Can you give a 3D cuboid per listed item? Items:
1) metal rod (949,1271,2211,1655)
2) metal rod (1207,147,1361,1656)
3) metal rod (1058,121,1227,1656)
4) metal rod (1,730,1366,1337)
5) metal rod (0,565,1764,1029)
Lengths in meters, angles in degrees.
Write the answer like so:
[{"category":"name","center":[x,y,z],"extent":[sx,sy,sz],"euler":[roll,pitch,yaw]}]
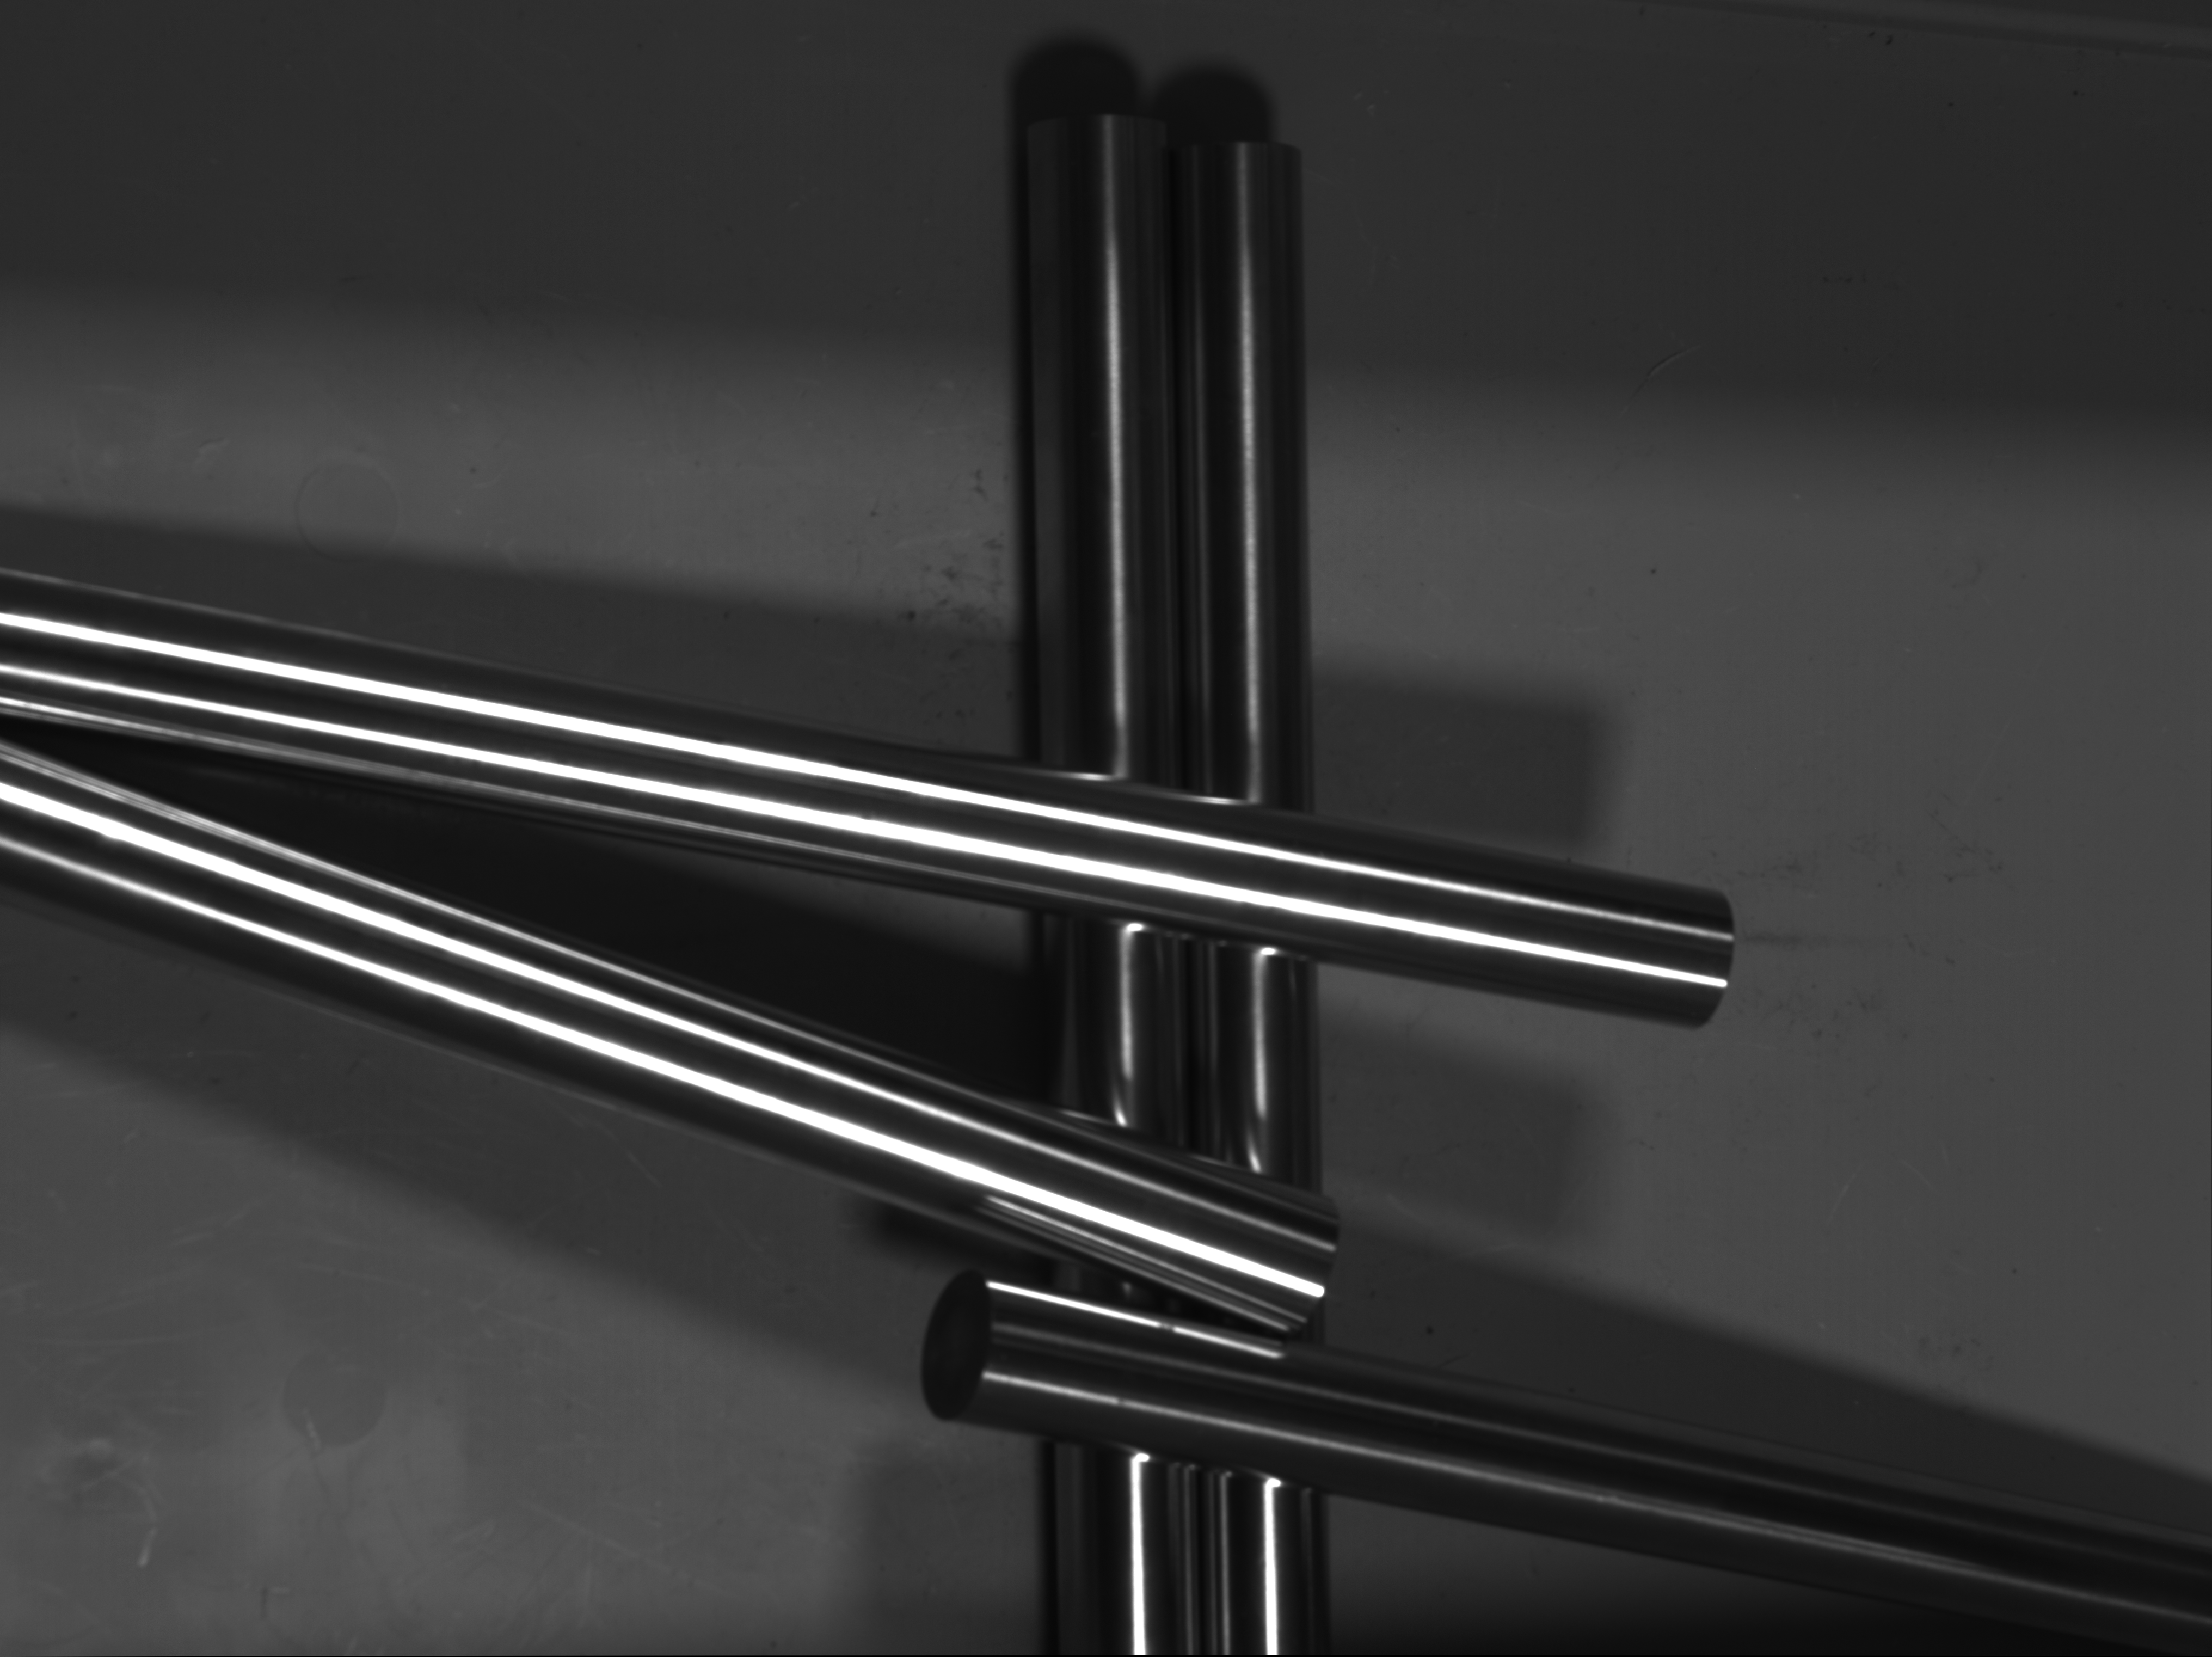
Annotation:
[{"category":"metal rod","center":[0.111,0.121,0.664],"extent":[0.301,0.025,0.025],"euler":[15,85,-25]},{"category":"metal rod","center":[0.031,0.031,0.652],"extent":[0.025,0.025,0.300],"euler":[-1,90,-20]},{"category":"metal rod","center":[0.007,0.028,0.643],"extent":[0.025,0.025,0.300],"euler":[-1,90,-20]},{"category":"metal rod","center":[-0.098,0.025,0.593],"extent":[0.300,0.025,0.025],"euler":[20,83,-13]},{"category":"metal rod","center":[-0.034,-0.004,0.609],"extent":[0.300,0.025,0.025],"euler":[10,86,-12]}]
